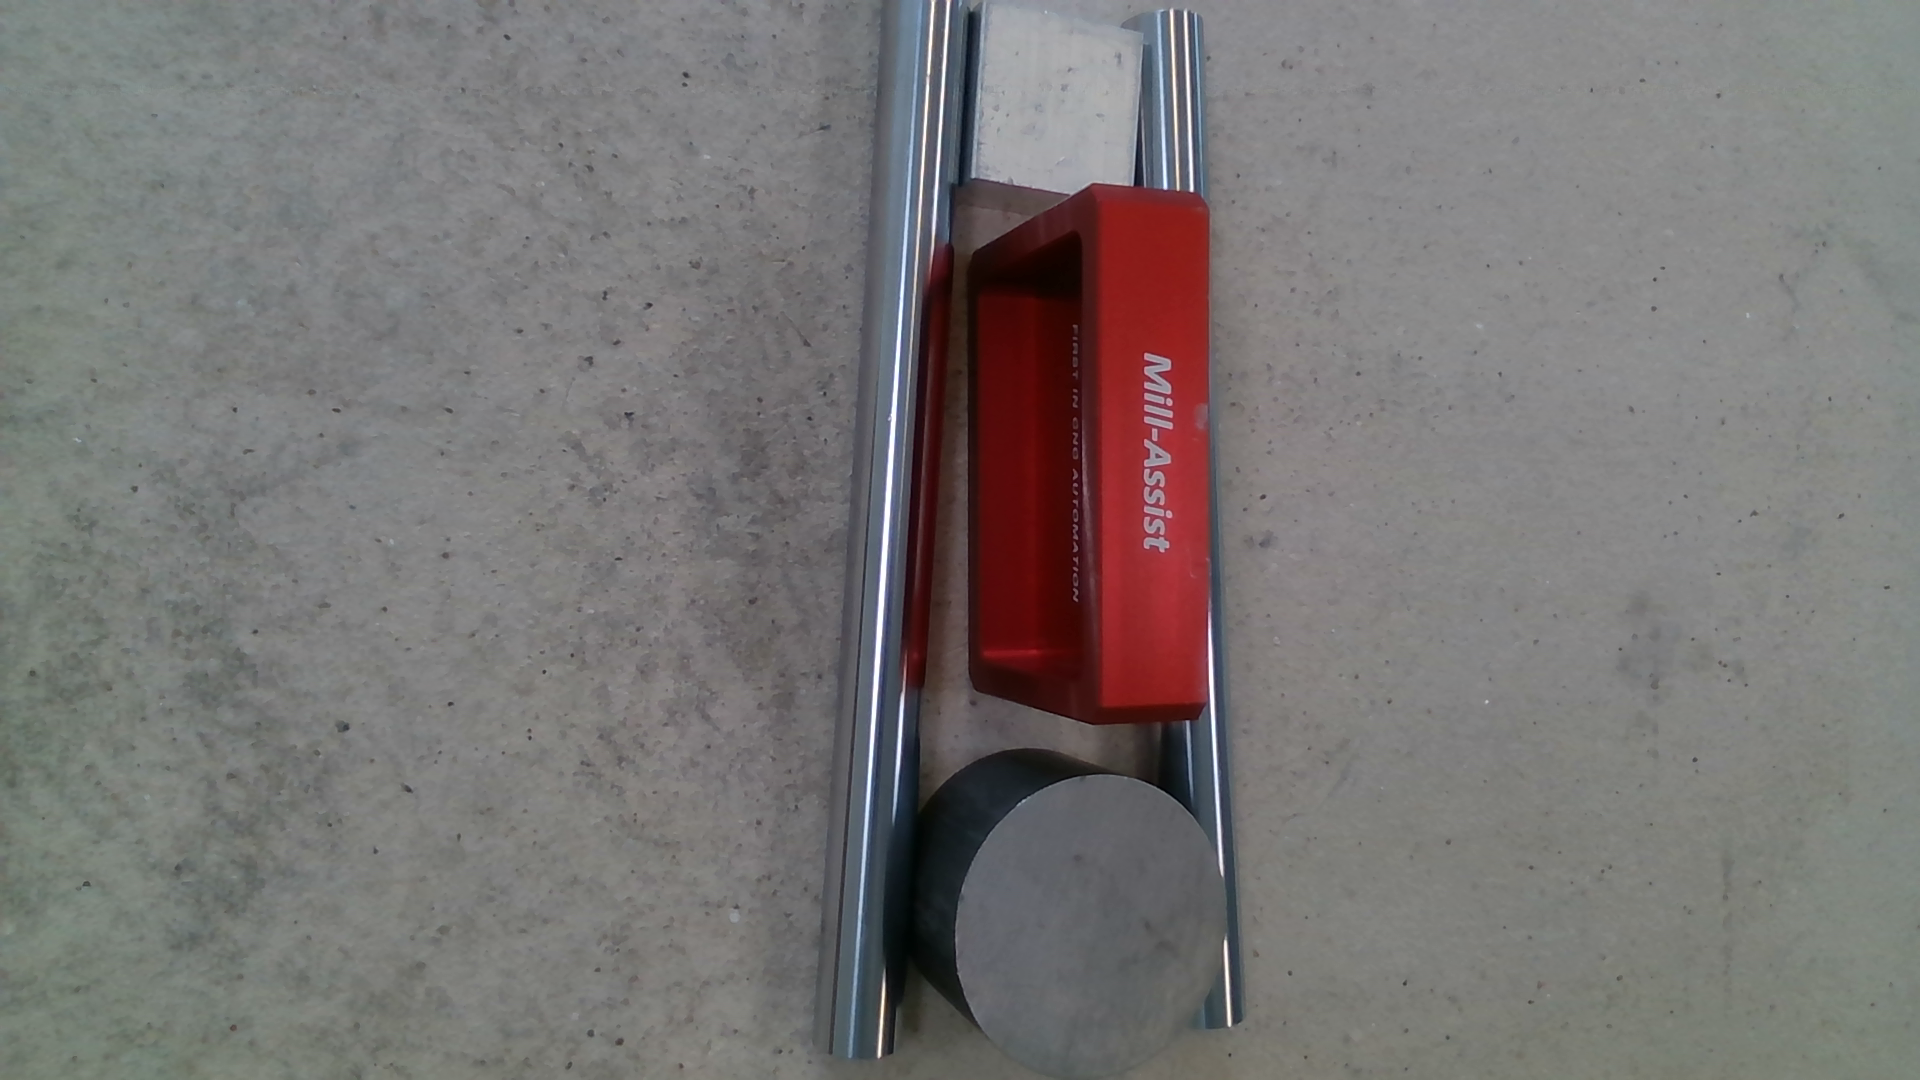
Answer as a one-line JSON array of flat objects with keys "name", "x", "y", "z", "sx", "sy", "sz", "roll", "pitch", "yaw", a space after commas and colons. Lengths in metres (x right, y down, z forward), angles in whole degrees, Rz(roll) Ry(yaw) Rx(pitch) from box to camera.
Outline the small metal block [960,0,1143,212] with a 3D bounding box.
[{"name": "small metal block", "x": 0.024, "y": -0.124, "z": 0.403, "sx": 0.050, "sy": 0.025, "sz": 0.050, "roll": 4, "pitch": 89, "yaw": -20}]

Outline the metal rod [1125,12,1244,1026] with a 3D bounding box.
[{"name": "metal rod", "x": 0.068, "y": -0.005, "z": 0.419, "sx": 0.025, "sy": 0.025, "sz": 0.300, "roll": -3, "pitch": 91, "yaw": -20}]

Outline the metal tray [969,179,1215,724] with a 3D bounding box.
[{"name": "metal tray", "x": 0.032, "y": -0.021, "z": 0.370, "sx": 0.030, "sy": 0.090, "sz": 0.130, "roll": 0, "pitch": 90, "yaw": -20}]

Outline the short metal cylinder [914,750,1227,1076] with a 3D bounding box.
[{"name": "short metal cylinder", "x": 0.028, "y": 0.103, "z": 0.391, "sx": 0.080, "sy": 0.050, "sz": 0.080, "roll": 0, "pitch": 90, "yaw": -20}]

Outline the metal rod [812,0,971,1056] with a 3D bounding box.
[{"name": "metal rod", "x": -0.019, "y": -0.010, "z": 0.388, "sx": 0.025, "sy": 0.025, "sz": 0.300, "roll": 4, "pitch": 89, "yaw": -20}]
